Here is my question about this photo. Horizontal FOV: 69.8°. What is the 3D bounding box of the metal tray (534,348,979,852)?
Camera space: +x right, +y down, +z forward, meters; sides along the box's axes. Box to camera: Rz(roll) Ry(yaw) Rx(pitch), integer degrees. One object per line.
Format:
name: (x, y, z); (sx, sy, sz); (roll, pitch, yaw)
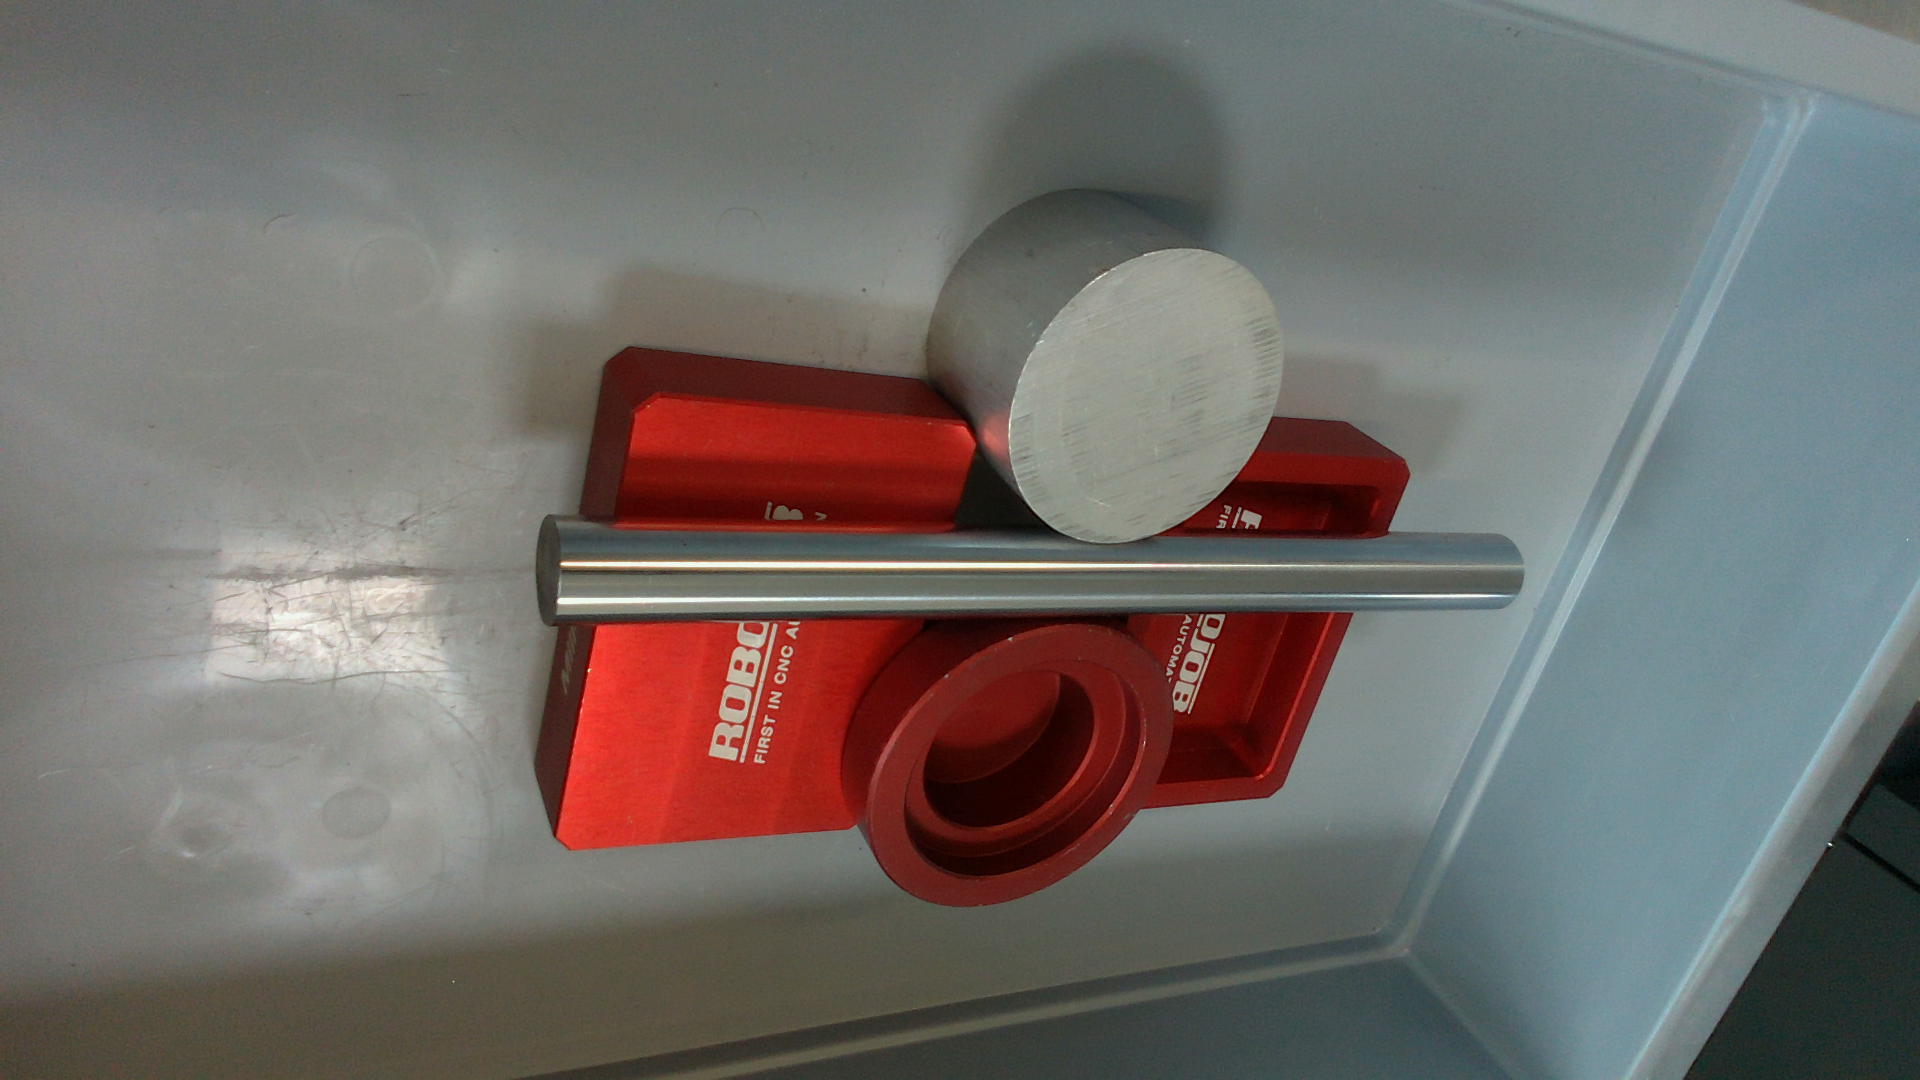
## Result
metal tray: (-0.056, 0.019, 0.364); (0.090, 0.030, 0.130); (3, 117, -30)

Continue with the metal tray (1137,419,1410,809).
metal tray: (0.081, 0.025, 0.443); (0.090, 0.030, 0.130); (1, 118, -29)

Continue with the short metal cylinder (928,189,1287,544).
short metal cylinder: (0.038, -0.046, 0.363); (0.080, 0.050, 0.080); (-14, 124, -21)

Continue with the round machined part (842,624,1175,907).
round machined part: (0.011, 0.056, 0.405); (0.098, 0.042, 0.098); (-14, 124, -21)

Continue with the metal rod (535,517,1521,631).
metal rod: (0.041, 0.009, 0.376); (0.301, 0.025, 0.025); (1, 118, -29)
